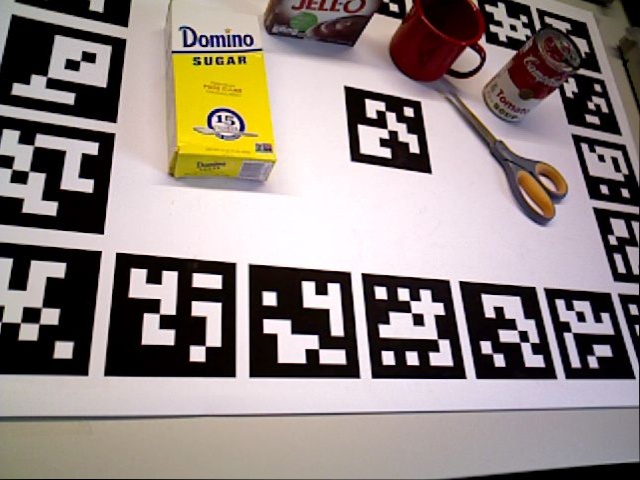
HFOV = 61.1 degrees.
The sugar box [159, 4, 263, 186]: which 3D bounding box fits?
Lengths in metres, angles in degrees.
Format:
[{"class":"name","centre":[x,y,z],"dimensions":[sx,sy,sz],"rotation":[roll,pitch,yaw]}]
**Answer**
[{"class":"sugar box","centre":[-0.107,-0.140,0.527],"dimensions":[0.091,0.046,0.175],"rotation":[1,71,-20]}]

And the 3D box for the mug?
[{"class":"mug","centre":[0.142,-0.241,0.644],"dimensions":[0.091,0.083,0.117],"rotation":[-34,83,-28]}]

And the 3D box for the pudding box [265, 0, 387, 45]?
[{"class":"pudding box","centre":[0.007,-0.258,0.586],"dimensions":[0.112,0.092,0.038],"rotation":[-4,76,-24]}]

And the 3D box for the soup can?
[{"class":"soup can","centre":[0.252,-0.194,0.668],"dimensions":[0.067,0.104,0.067],"rotation":[8,65,-19]}]

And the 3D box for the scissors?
[{"class":"scissors","centre":[0.223,-0.095,0.656],"dimensions":[0.086,0.016,0.203],"rotation":[-41,89,-20]}]
